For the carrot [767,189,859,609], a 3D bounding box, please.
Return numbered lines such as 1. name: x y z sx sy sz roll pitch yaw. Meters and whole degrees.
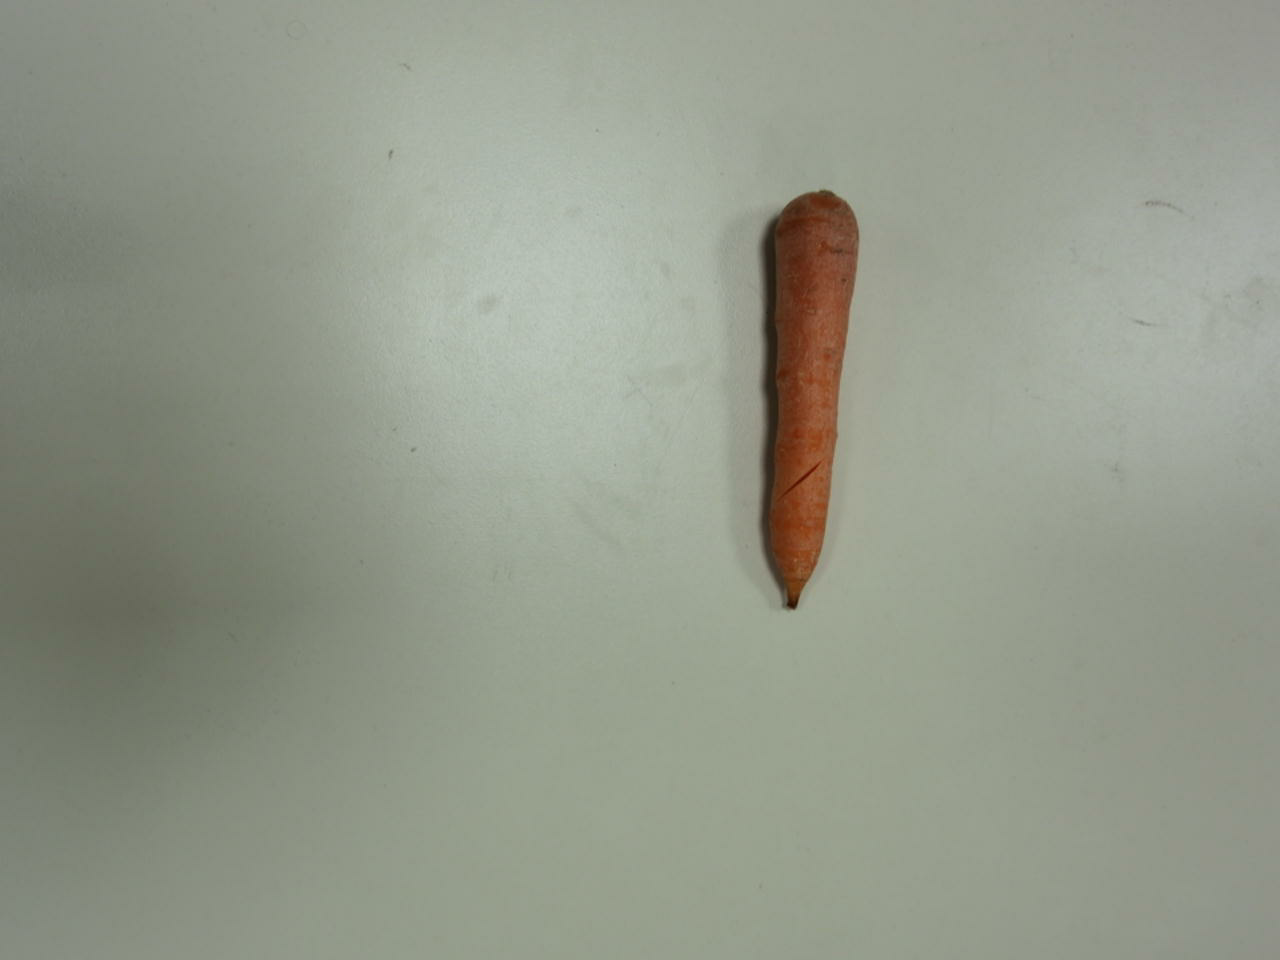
1. carrot: 0.081 -0.036 0.469 0.039 0.041 0.196 1 90 -12
